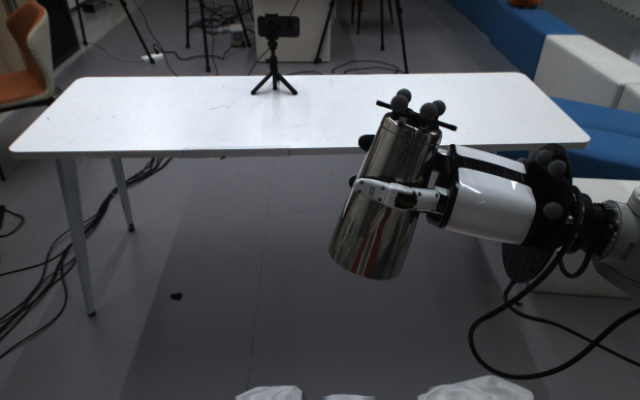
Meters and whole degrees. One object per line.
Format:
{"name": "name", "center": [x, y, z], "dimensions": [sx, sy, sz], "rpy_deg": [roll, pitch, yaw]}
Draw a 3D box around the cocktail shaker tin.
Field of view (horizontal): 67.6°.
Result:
{"name": "cocktail shaker tin", "center": [0.079, -0.007, 0.548], "dimensions": [0.093, 0.170, 0.093], "rpy_deg": [15, 21, -6]}
